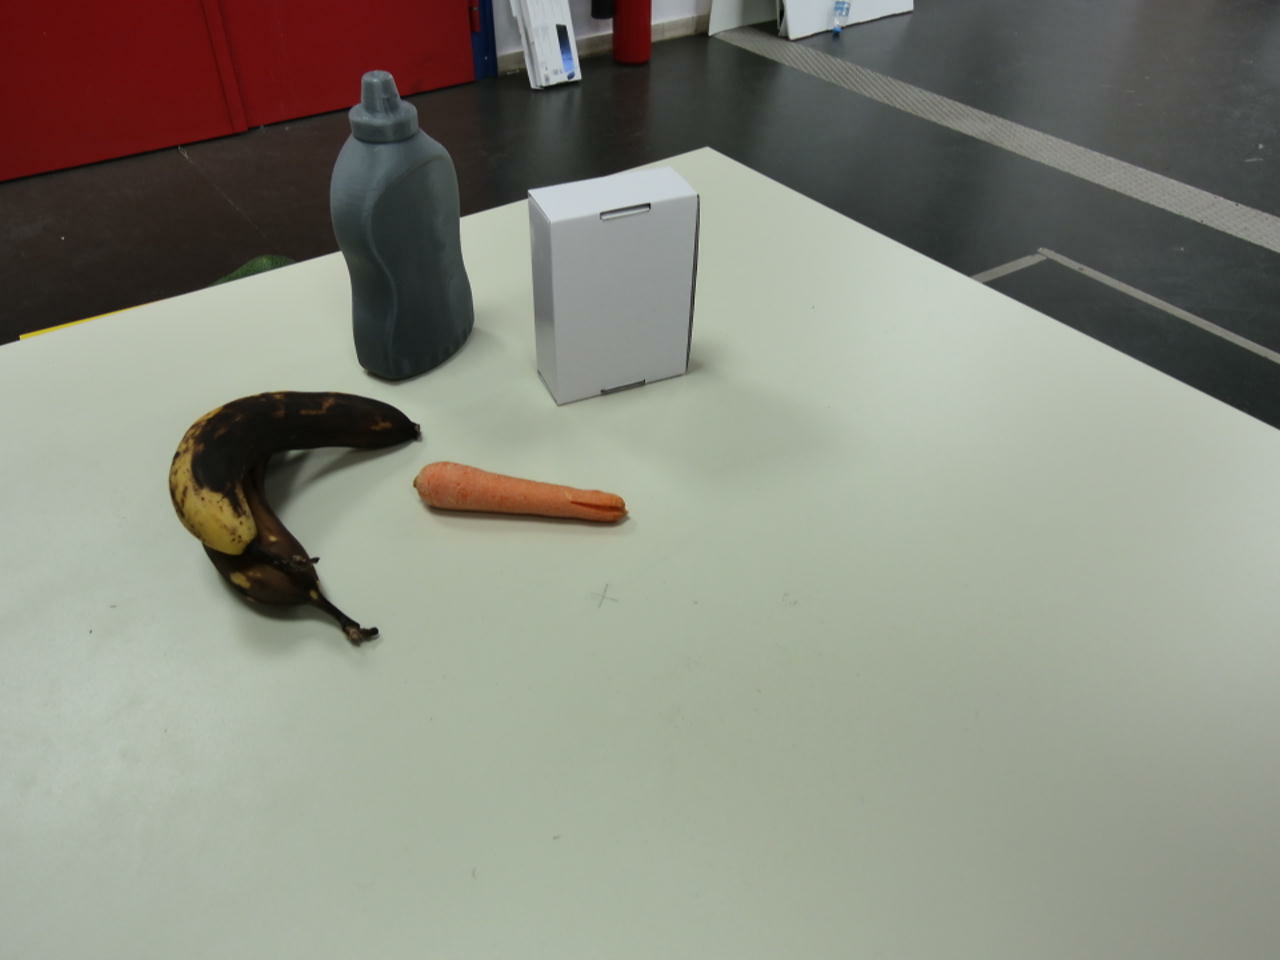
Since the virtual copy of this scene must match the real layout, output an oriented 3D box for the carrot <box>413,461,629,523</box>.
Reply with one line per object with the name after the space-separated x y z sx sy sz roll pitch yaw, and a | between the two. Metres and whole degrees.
-0.075 0.008 0.621 0.136 0.032 0.030 5 38 7 | carrot
